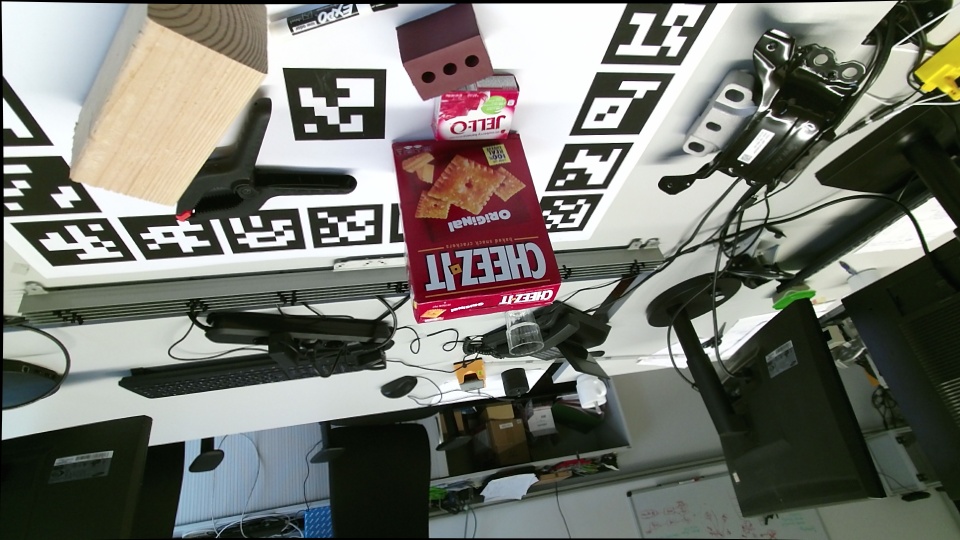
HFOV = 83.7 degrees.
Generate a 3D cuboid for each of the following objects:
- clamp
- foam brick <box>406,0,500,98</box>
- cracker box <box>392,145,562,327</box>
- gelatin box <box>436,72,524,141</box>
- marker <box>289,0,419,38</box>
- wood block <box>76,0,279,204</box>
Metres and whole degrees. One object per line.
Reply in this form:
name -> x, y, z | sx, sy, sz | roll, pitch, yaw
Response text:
clamp -> -0.264, -0.100, 0.621 | 0.203, 0.036, 0.166 | -22, 148, 12
foam brick -> -0.025, -0.214, 0.519 | 0.078, 0.051, 0.053 | -18, 147, 6
cracker box -> -0.011, -0.045, 0.632 | 0.165, 0.212, 0.072 | -6, 149, -10
gelatin box -> -0.002, -0.183, 0.604 | 0.090, 0.030, 0.073 | -6, 146, -14
marker -> -0.109, -0.235, 0.479 | 0.121, 0.019, 0.020 | -16, 147, 2
wood block -> -0.271, -0.159, 0.476 | 0.206, 0.090, 0.090 | -33, 147, 33
